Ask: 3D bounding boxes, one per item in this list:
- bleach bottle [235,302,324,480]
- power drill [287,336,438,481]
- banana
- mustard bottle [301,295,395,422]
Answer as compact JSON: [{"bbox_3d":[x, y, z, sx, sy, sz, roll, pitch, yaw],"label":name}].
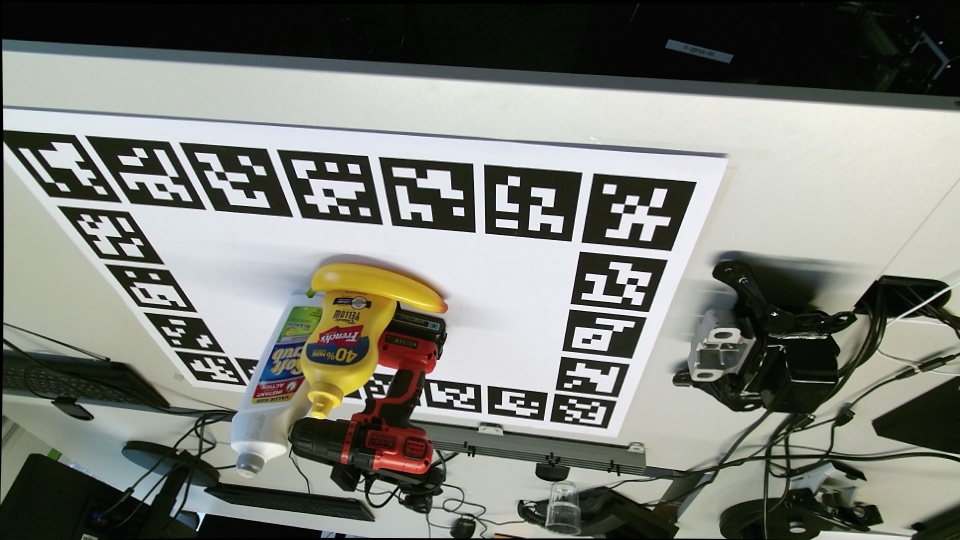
[{"bbox_3d":[-0.251,0.163,0.721,0.103,0.249,0.068,7,141,4],"label":"bleach bottle"},{"bbox_3d":[-0.140,0.179,0.722,0.185,0.186,0.057,15,137,-2],"label":"power drill"},{"bbox_3d":[-0.146,0.032,0.726,0.198,0.038,0.074,7,135,1],"label":"banana"},{"bbox_3d":[-0.178,0.111,0.689,0.096,0.190,0.058,6,136,6],"label":"mustard bottle"}]
